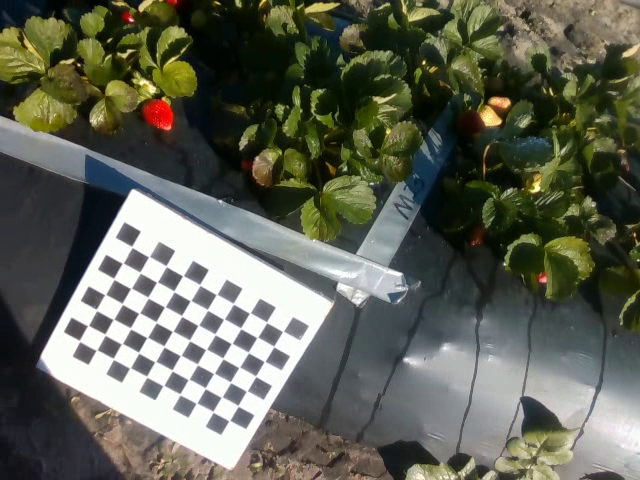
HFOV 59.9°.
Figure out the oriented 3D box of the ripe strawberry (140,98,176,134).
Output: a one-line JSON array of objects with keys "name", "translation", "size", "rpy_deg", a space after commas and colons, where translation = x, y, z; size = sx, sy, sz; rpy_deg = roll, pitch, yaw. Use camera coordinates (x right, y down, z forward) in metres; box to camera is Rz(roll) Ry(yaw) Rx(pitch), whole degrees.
[{"name": "ripe strawberry", "translation": [-0.216, -0.170, 0.751], "size": [0.045, 0.059, 0.042], "rpy_deg": [-32, -14, 6]}]
